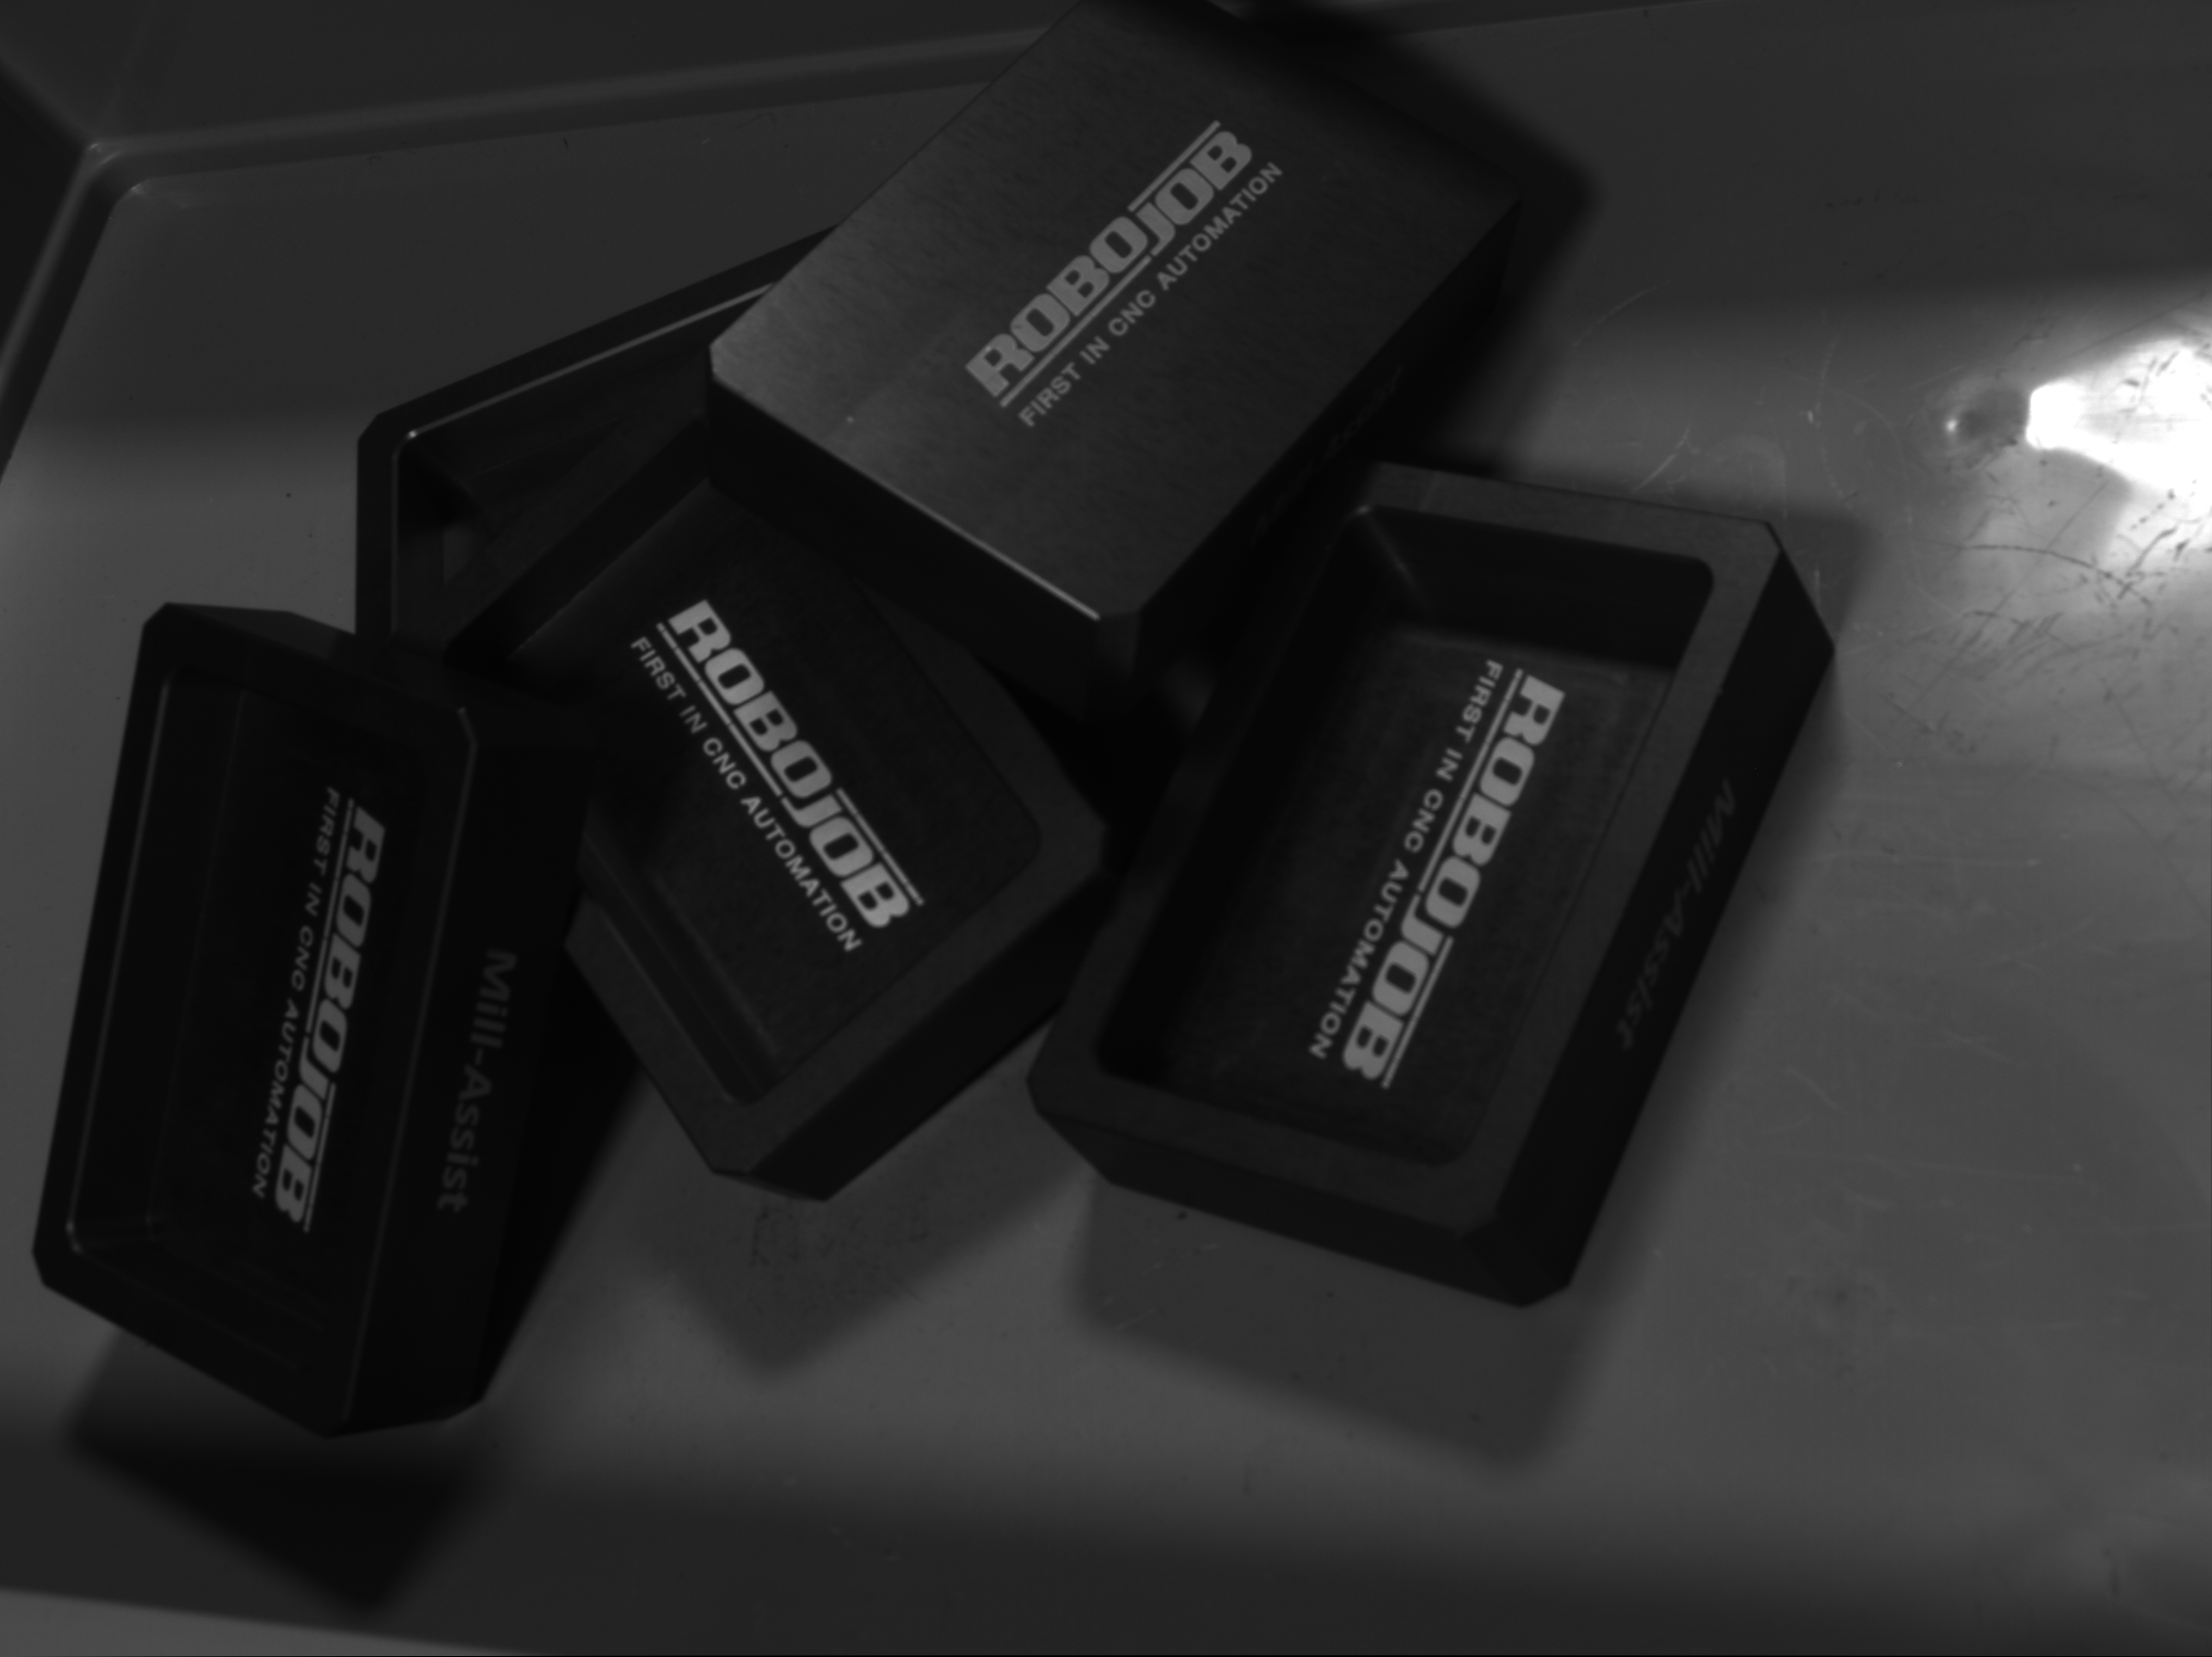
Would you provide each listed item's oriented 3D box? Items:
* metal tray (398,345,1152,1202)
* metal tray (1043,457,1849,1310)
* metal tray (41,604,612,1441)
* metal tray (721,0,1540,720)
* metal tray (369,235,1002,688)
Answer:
[{"bbox_3d":[-0.059,-0.011,0.650,0.090,0.030,0.130,-41,65,8],"label":"metal tray"},{"bbox_3d":[0.057,0.006,0.605,0.090,0.030,0.130,13,68,34],"label":"metal tray"},{"bbox_3d":[-0.142,0.033,0.658,0.090,0.030,0.130,18,100,36],"label":"metal tray"},{"bbox_3d":[0.005,-0.089,0.647,0.090,0.030,0.130,33,59,15],"label":"metal tray"},{"bbox_3d":[-0.082,-0.060,0.721,0.130,0.030,0.090,-19,54,17],"label":"metal tray"}]
